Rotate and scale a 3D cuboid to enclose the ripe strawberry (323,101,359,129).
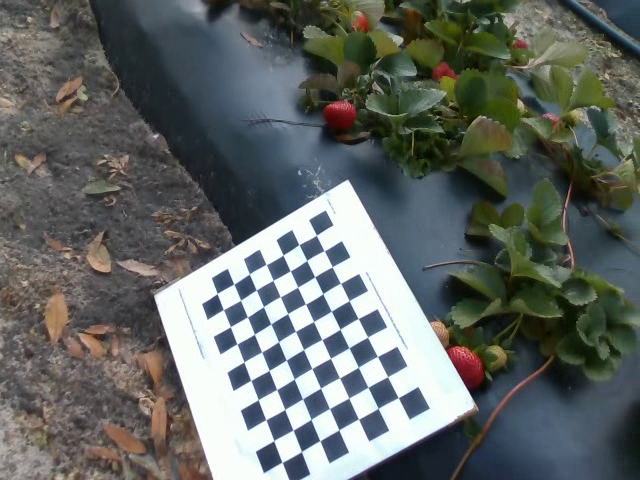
[{"bbox_3d":[0.026,-0.186,0.814,0.049,0.050,0.053,-45,-27,21],"label":"ripe strawberry"}]
